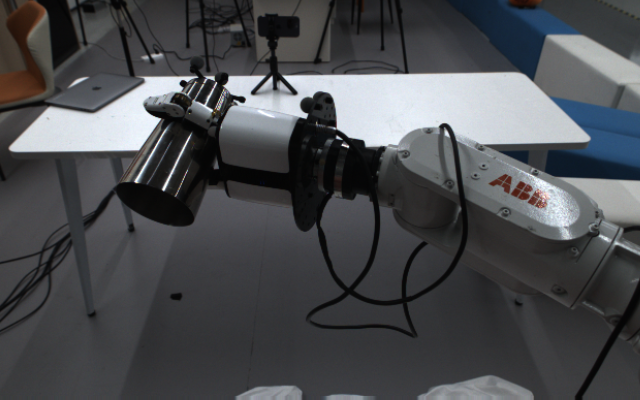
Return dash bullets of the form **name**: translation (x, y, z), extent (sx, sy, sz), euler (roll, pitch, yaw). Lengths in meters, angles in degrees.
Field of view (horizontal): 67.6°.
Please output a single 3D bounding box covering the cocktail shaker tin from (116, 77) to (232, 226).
- **cocktail shaker tin**: translation (-0.163, -0.063, 0.581), extent (0.093, 0.093, 0.170), euler (10, 60, 12)
